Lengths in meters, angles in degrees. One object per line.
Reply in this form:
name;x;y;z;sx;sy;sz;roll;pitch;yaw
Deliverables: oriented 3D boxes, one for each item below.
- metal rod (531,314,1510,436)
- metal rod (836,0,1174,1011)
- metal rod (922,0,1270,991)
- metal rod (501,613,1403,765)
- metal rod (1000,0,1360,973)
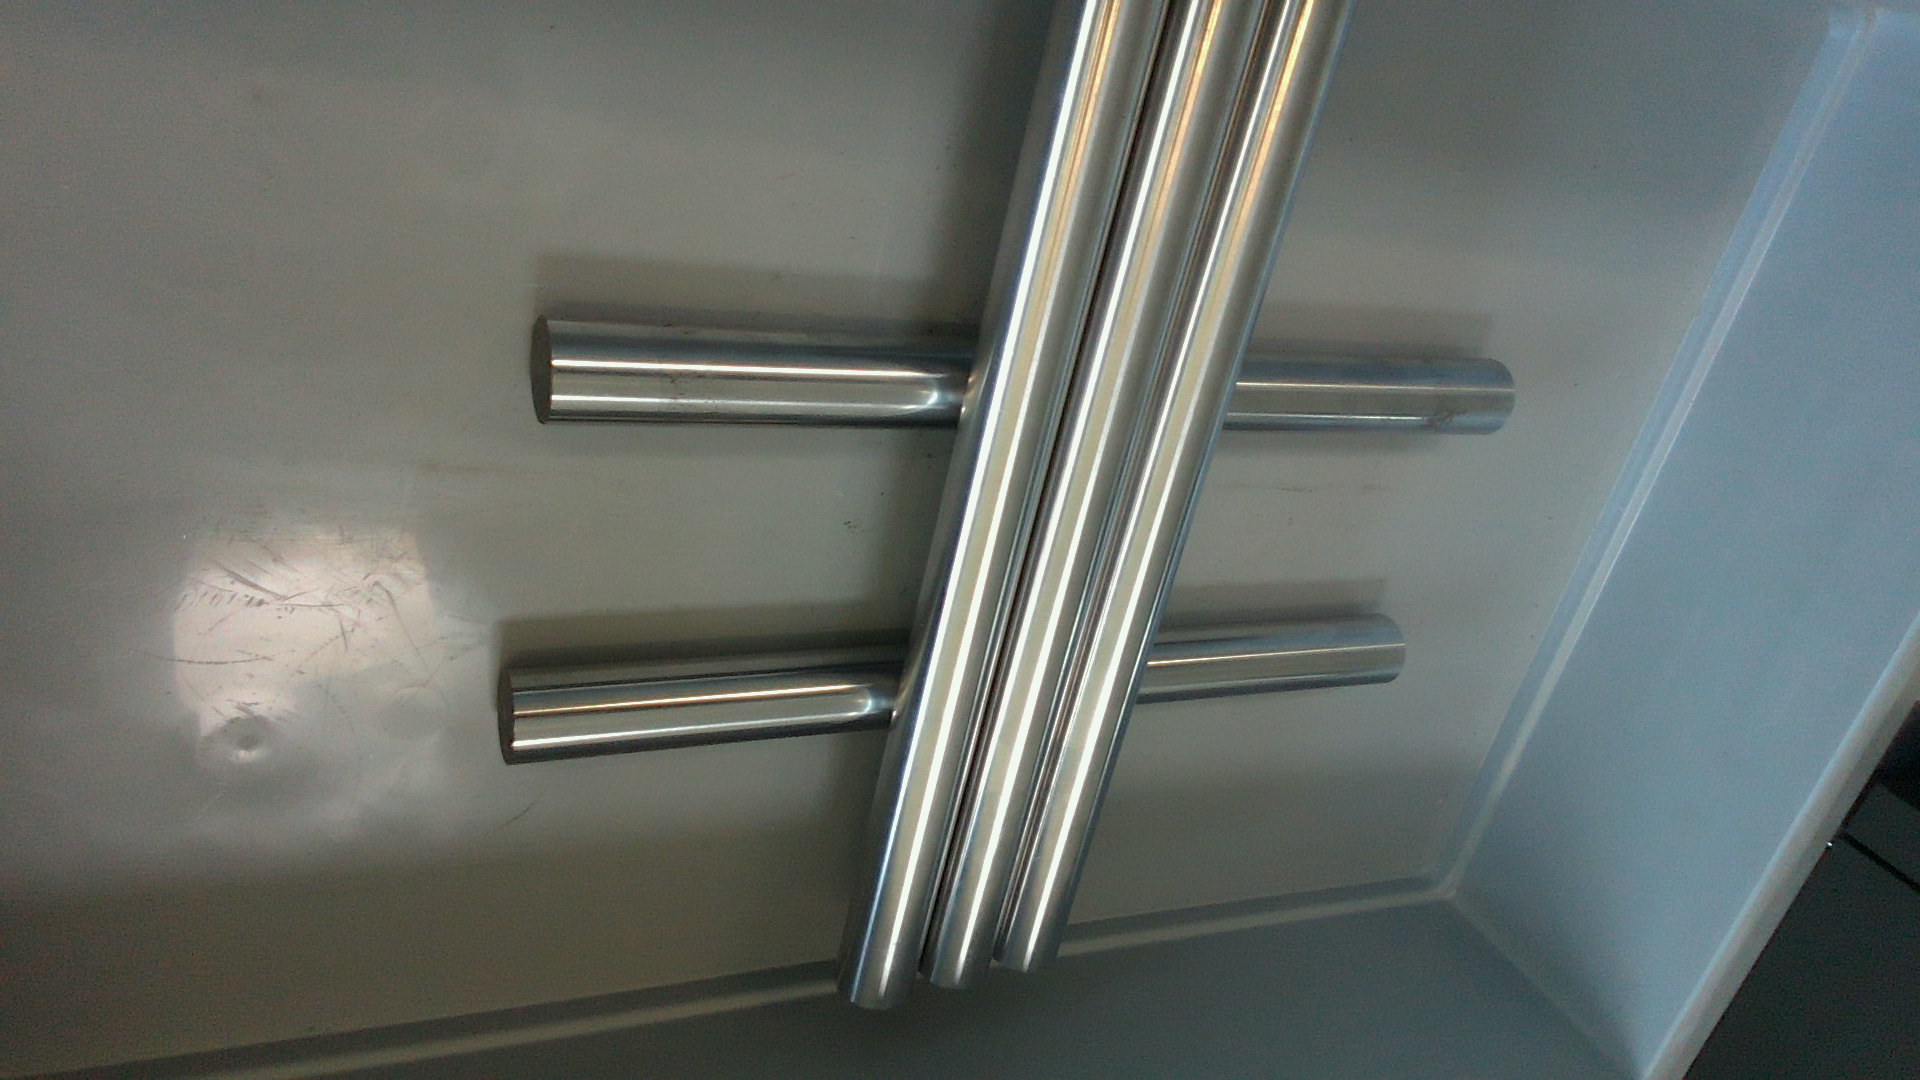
metal rod;0.038;-0.043;0.383;0.301;0.025;0.025;-2;119;-28
metal rod;0.005;0.004;0.360;0.025;0.025;0.300;-1;119;-28
metal rod;0.028;0.002;0.371;0.025;0.025;0.300;-1;119;-28
metal rod;0.016;0.042;0.423;0.301;0.025;0.025;-1;119;-28
metal rod;0.051;-0.001;0.381;0.025;0.025;0.300;-1;119;-28
